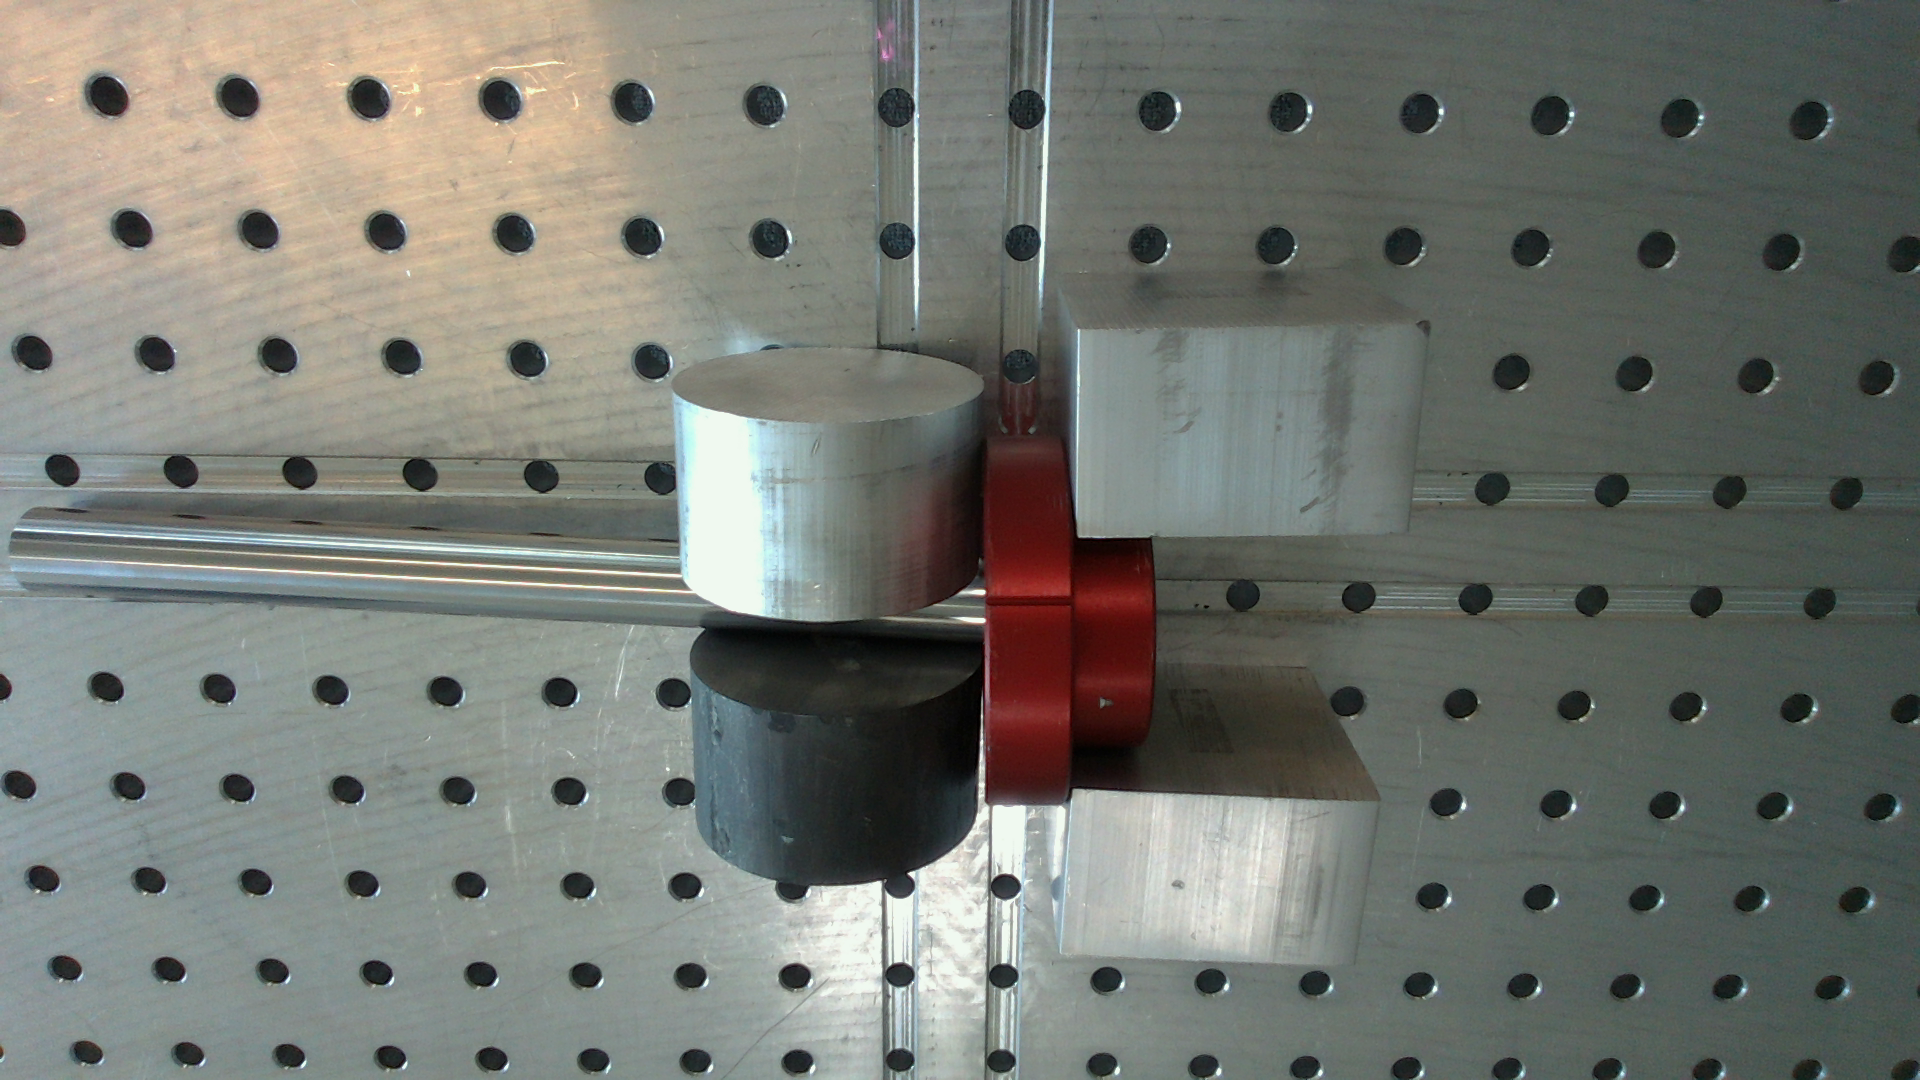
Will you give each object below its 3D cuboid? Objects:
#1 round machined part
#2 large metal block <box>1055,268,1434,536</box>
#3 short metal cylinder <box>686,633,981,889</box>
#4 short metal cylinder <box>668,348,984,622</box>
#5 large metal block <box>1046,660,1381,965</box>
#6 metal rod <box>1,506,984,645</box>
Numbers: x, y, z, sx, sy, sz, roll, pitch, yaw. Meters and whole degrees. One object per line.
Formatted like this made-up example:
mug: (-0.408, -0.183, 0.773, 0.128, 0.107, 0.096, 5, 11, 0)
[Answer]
round machined part: (0.028, 0.021, 0.365, 0.042, 0.098, 0.098, 1, 110, 0)
large metal block: (0.066, -0.039, 0.354, 0.080, 0.080, 0.050, 0, 110, 0)
short metal cylinder: (-0.035, 0.053, 0.386, 0.080, 0.080, 0.050, 1, 111, -1)
short metal cylinder: (-0.034, -0.018, 0.361, 0.080, 0.080, 0.050, 1, 111, 0)
large metal block: (0.066, 0.075, 0.396, 0.080, 0.080, 0.050, 3, 110, -1)
metal rod: (-0.117, 0.010, 0.387, 0.300, 0.025, 0.025, 3, 110, 3)
